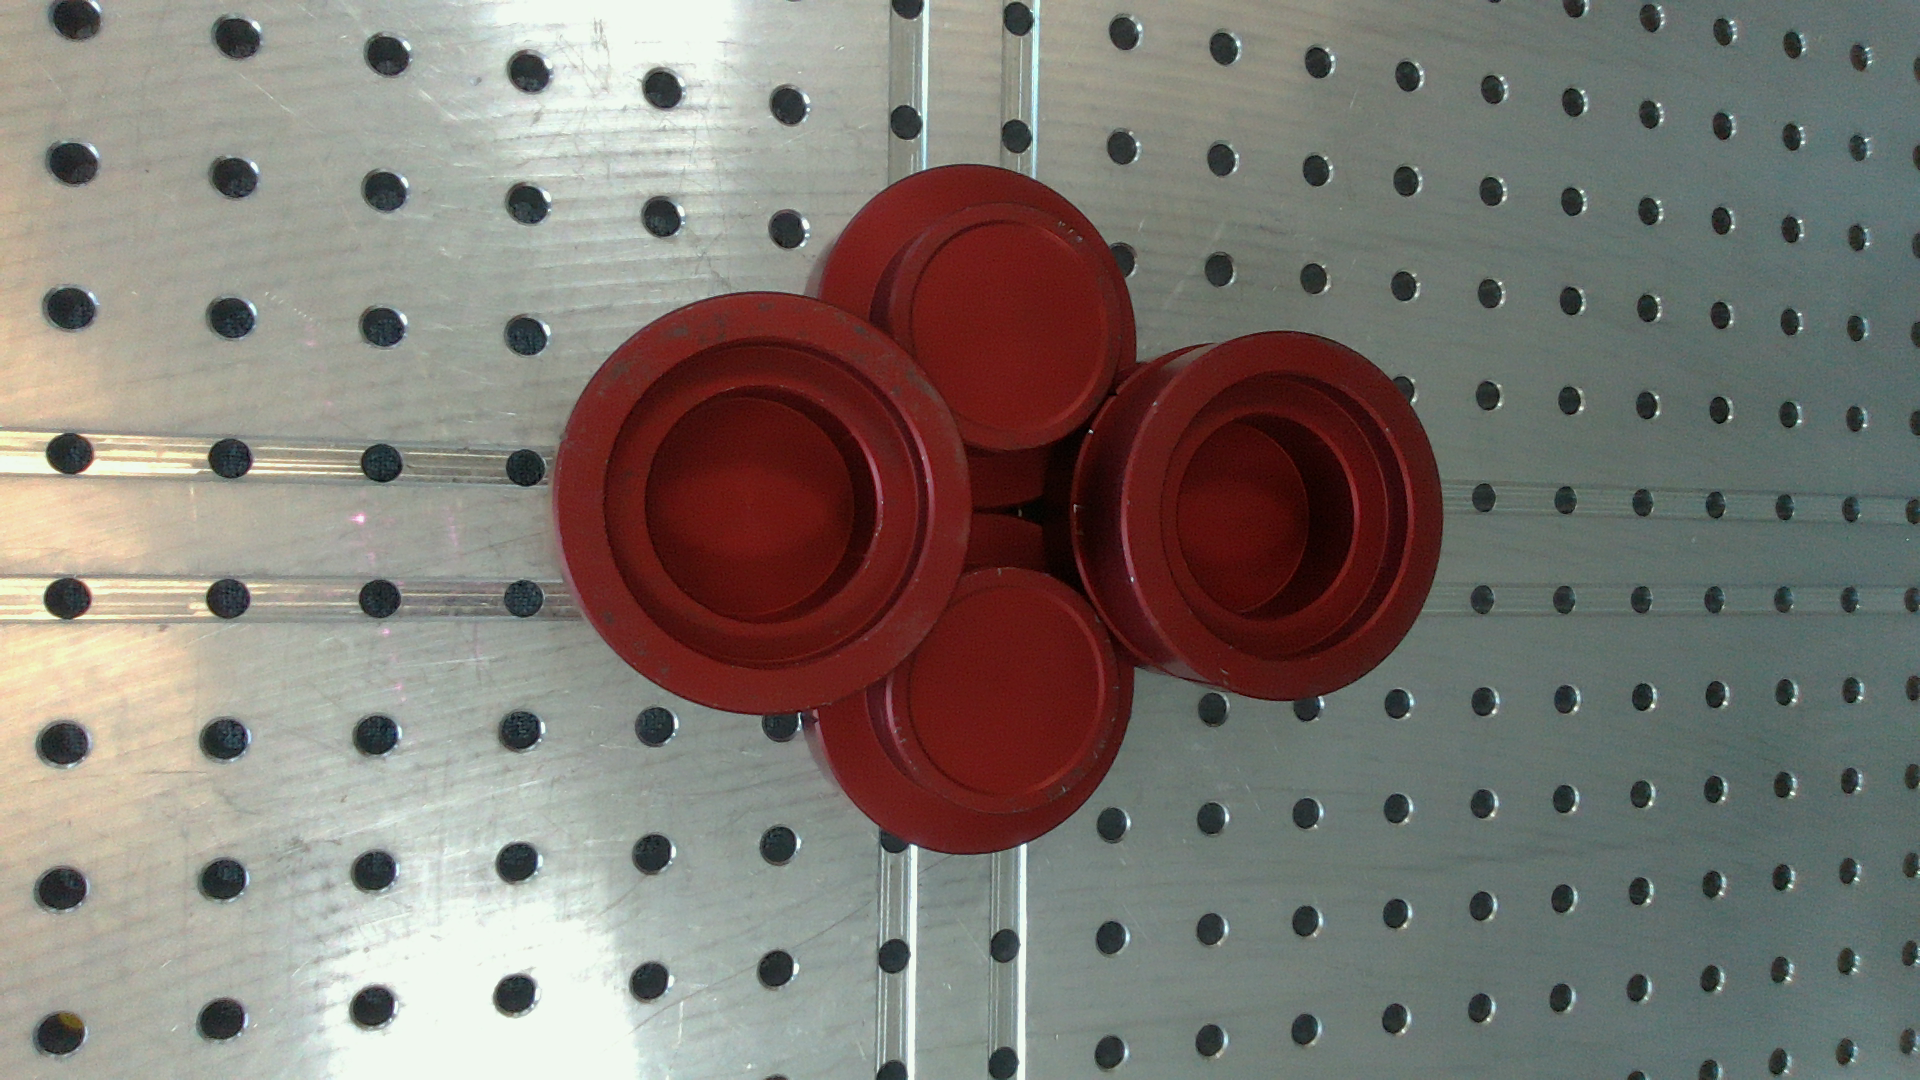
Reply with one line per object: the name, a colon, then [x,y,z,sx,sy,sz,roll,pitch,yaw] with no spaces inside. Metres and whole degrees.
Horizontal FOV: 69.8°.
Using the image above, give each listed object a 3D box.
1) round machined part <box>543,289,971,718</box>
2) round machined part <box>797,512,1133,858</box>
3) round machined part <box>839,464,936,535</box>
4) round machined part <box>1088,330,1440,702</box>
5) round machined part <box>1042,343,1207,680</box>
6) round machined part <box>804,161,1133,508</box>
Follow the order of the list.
round machined part: [-0.050,-0.008,0.334,0.098,0.042,0.098,0,90,-20]
round machined part: [0.005,0.041,0.388,0.098,0.042,0.098,0,90,-20]
round machined part: [-0.058,-0.008,0.365,0.098,0.042,0.098,0,90,-20]
round machined part: [0.080,-0.006,0.381,0.098,0.042,0.098,0,90,-20]
round machined part: [0.069,-0.008,0.411,0.098,0.042,0.098,0,90,-20]
round machined part: [0.005,-0.058,0.388,0.098,0.042,0.098,0,90,-20]
